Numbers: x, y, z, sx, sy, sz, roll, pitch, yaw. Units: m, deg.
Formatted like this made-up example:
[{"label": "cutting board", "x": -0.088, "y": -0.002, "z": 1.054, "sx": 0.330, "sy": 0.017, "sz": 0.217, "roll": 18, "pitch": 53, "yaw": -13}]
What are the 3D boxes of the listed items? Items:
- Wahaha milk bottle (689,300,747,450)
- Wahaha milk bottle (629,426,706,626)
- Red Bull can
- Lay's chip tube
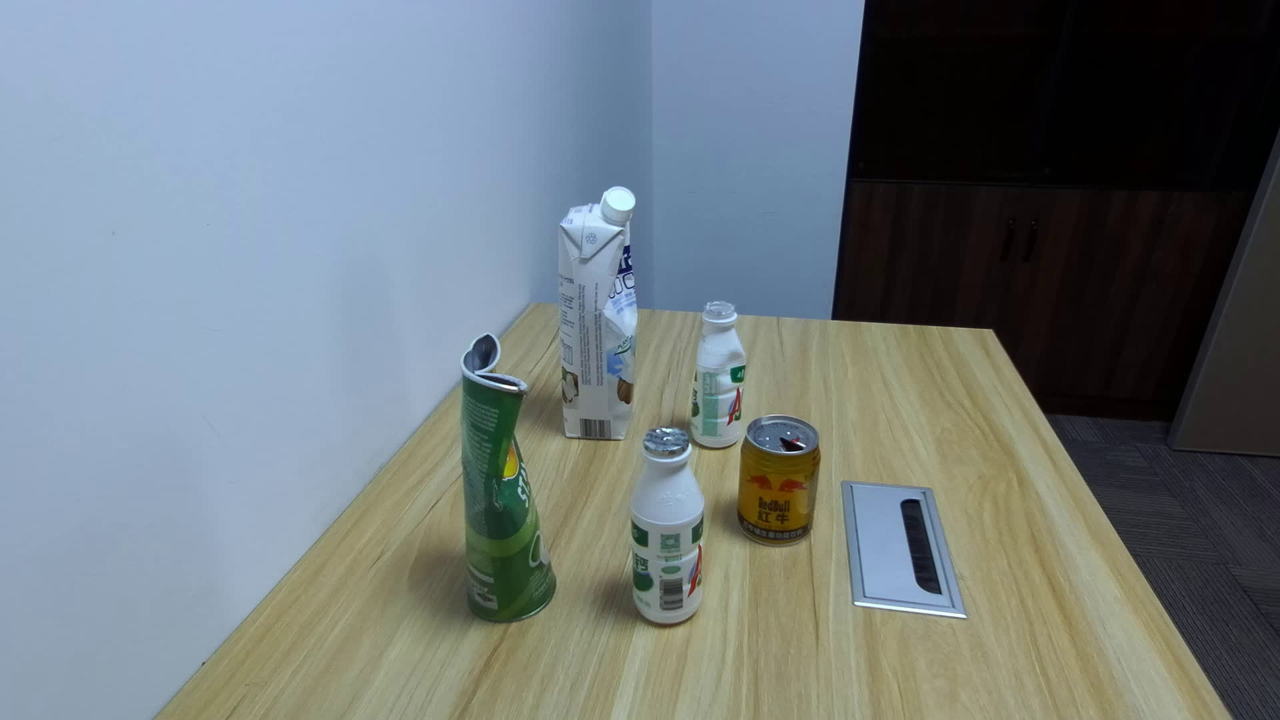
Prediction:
[{"label": "Wahaha milk bottle", "x": 0.079, "y": 0.015, "z": 0.705, "sx": 0.055, "sy": 0.149, "sz": 0.055, "roll": 0, "pitch": 29, "yaw": 0}, {"label": "Wahaha milk bottle", "x": 0.020, "y": 0.118, "z": 0.501, "sx": 0.053, "sy": 0.147, "sz": 0.053, "roll": 0, "pitch": 28, "yaw": 1}, {"label": "Red Bull can", "x": 0.117, "y": 0.100, "z": 0.596, "sx": 0.067, "sy": 0.093, "sz": 0.067, "roll": 1, "pitch": 27, "yaw": 0}, {"label": "Lay's chip tube", "x": -0.101, "y": 0.089, "z": 0.507, "sx": 0.077, "sy": 0.201, "sz": 0.069, "roll": 21, "pitch": 33, "yaw": 33}]
